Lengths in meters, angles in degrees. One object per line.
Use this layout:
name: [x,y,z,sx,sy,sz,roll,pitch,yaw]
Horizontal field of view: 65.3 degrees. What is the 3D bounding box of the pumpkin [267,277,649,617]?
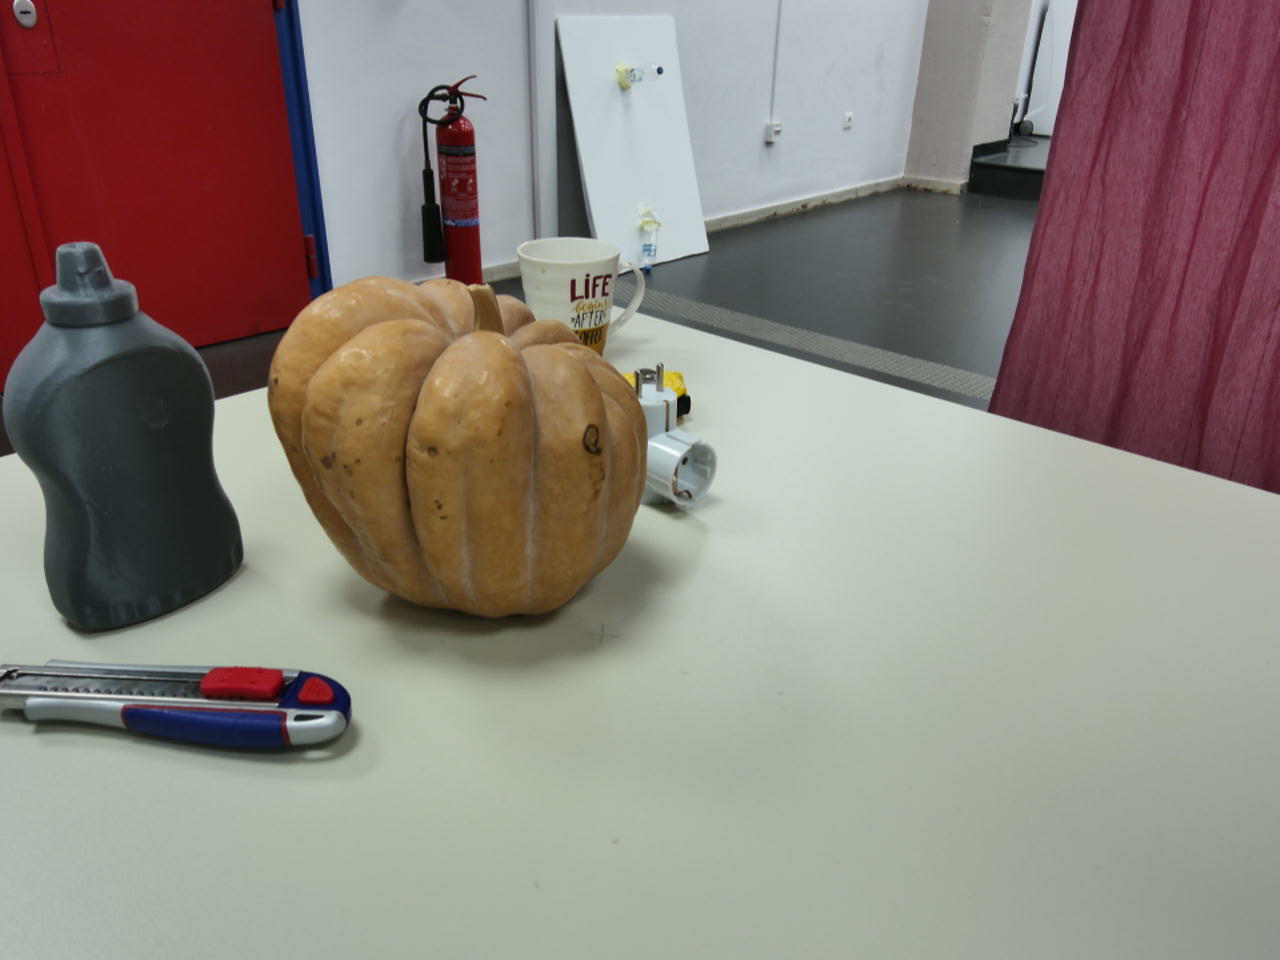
pumpkin: [-0.093,-0.019,0.533,0.199,0.177,0.198,1,25,-1]
